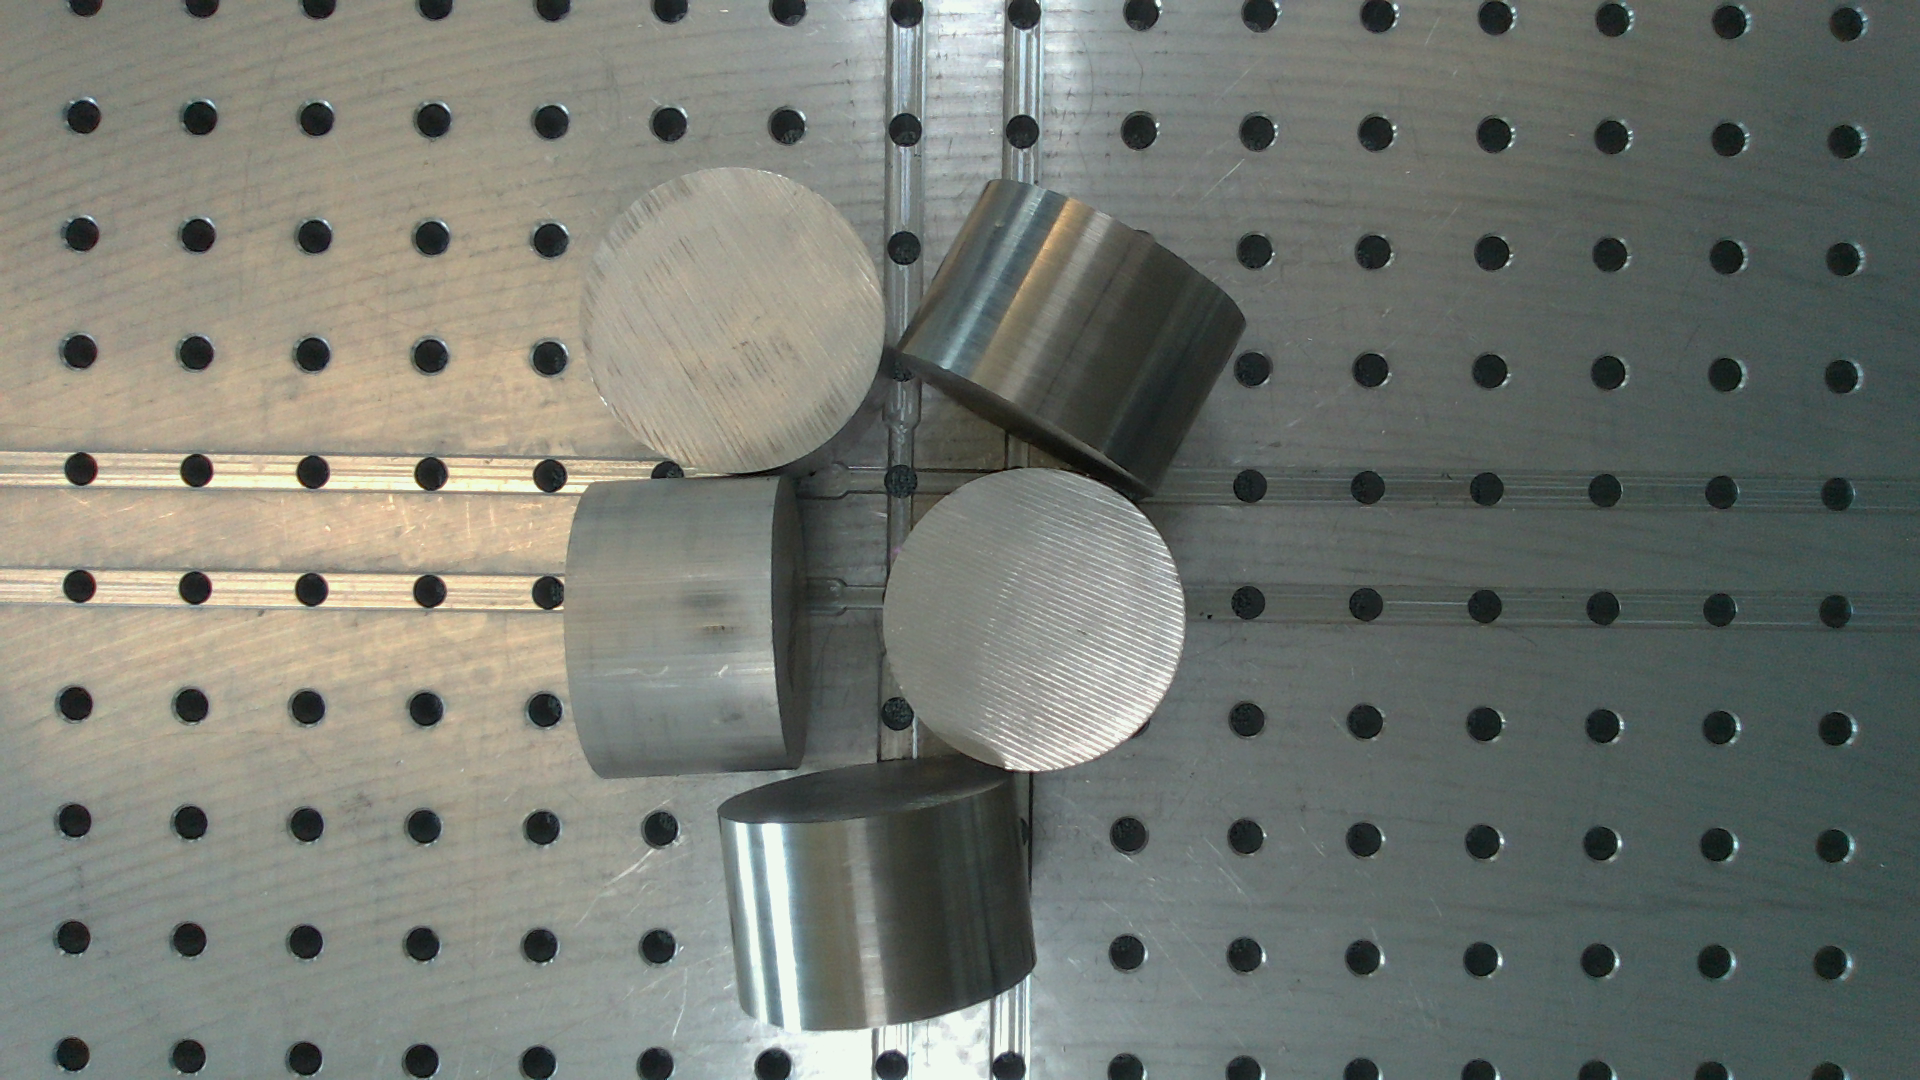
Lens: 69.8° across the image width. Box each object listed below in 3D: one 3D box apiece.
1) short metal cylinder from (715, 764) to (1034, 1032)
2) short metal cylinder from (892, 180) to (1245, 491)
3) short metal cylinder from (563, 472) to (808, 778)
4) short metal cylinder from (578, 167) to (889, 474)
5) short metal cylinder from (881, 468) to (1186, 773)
[{"bbox_3d":[-0.023,0.092,0.370,0.080,0.080,0.050,-6,91,0],"label":"short metal cylinder"},{"bbox_3d":[0.029,-0.053,0.370,0.080,0.080,0.050,28,90,0],"label":"short metal cylinder"},{"bbox_3d":[-0.070,0.023,0.371,0.050,0.080,0.080,-2,90,0],"label":"short metal cylinder"},{"bbox_3d":[-0.060,-0.058,0.384,0.080,0.050,0.080,0,90,1],"label":"short metal cylinder"},{"bbox_3d":[0.019,0.021,0.386,0.080,0.050,0.080,0,91,-1],"label":"short metal cylinder"}]
